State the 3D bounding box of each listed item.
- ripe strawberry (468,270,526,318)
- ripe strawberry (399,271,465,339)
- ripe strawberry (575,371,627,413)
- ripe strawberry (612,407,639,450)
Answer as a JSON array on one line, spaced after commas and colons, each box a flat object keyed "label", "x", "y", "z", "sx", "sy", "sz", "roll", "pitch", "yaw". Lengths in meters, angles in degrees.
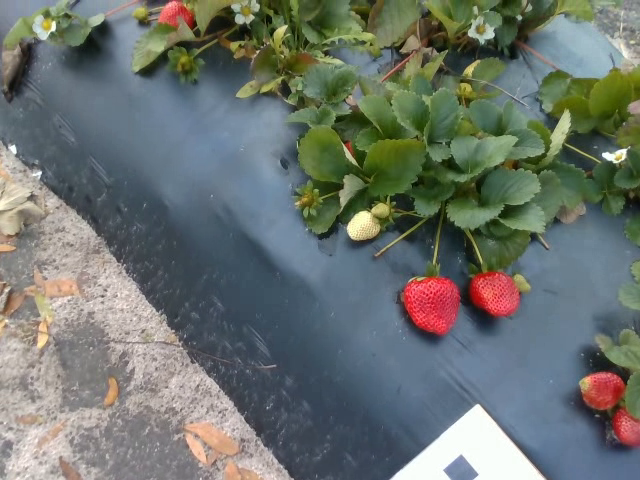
[{"label": "ripe strawberry", "x": 0.177, "y": 0.058, "z": 0.604, "sx": 0.050, "sy": 0.051, "sz": 0.060, "roll": -21, "pitch": 27, "yaw": 17}, {"label": "ripe strawberry", "x": 0.113, "y": 0.067, "z": 0.594, "sx": 0.058, "sy": 0.065, "sz": 0.044, "roll": -15, "pitch": -29, "yaw": 18}, {"label": "ripe strawberry", "x": 0.262, "y": 0.141, "z": 0.568, "sx": 0.053, "sy": 0.047, "sz": 0.038, "roll": 24, "pitch": 5, "yaw": -14}, {"label": "ripe strawberry", "x": 0.283, "y": 0.172, "z": 0.545, "sx": 0.043, "sy": 0.041, "sz": 0.049, "roll": 44, "pitch": 32, "yaw": 18}]
